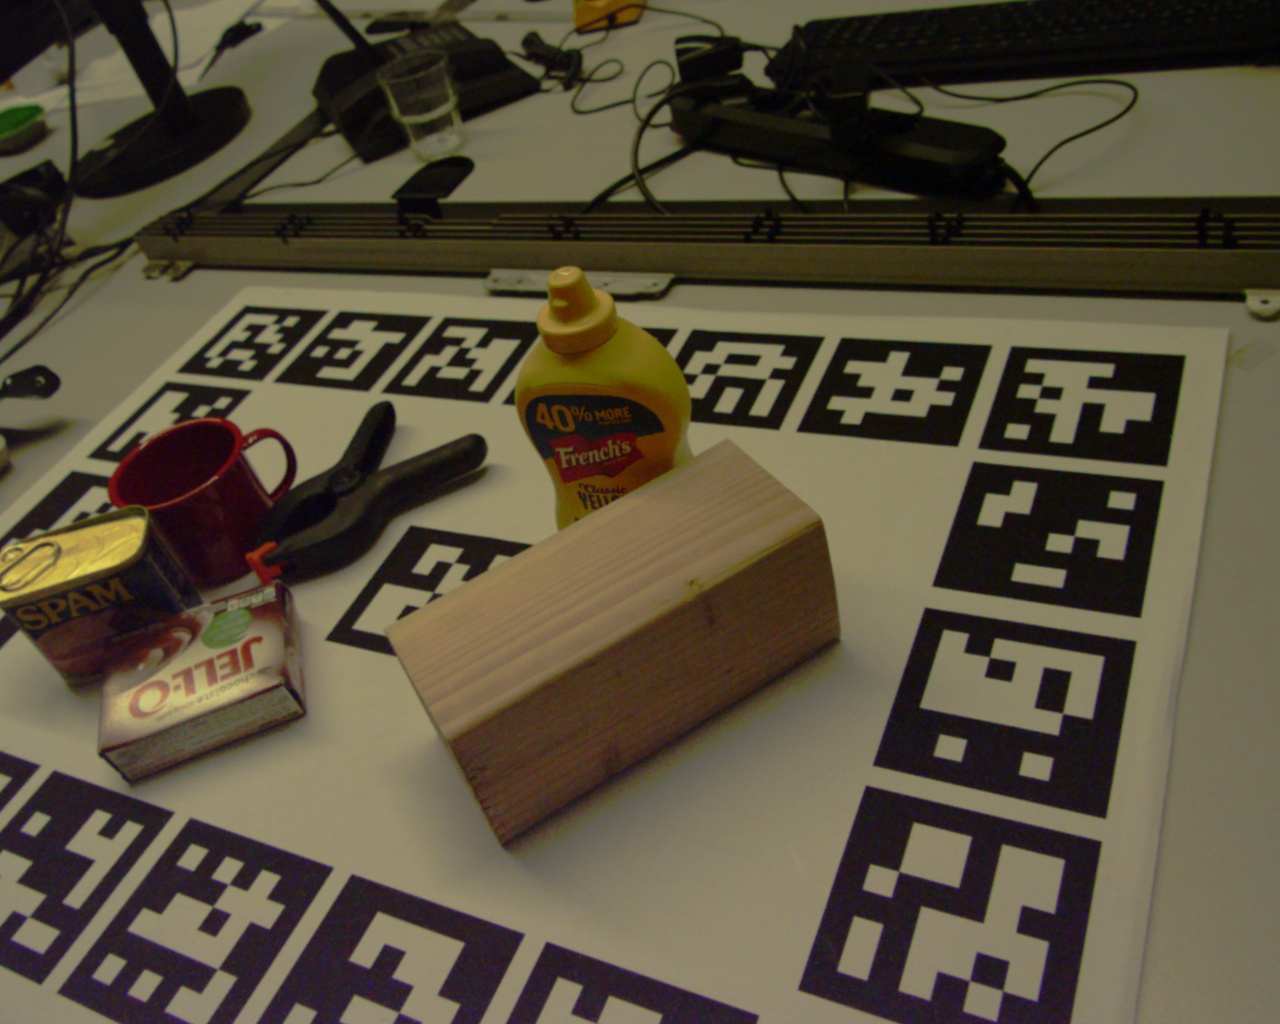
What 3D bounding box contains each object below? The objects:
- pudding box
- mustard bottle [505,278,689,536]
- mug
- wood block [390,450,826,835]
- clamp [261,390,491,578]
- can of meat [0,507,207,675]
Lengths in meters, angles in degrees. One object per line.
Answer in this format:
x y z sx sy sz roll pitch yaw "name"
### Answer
-0.260 0.099 0.701 0.113 0.038 0.091 -21 43 -4 "pudding box"
-0.025 -0.052 0.657 0.097 0.190 0.058 3 47 23 "mustard bottle"
-0.289 -0.001 0.817 0.116 0.081 0.094 -42 47 -21 "mug"
-0.014 0.065 0.613 0.205 0.090 0.091 -29 41 -13 "wood block"
-0.199 -0.017 0.807 0.123 0.036 0.164 26 61 37 "clamp"
-0.346 0.053 0.740 0.102 0.083 0.058 -15 43 4 "can of meat"
